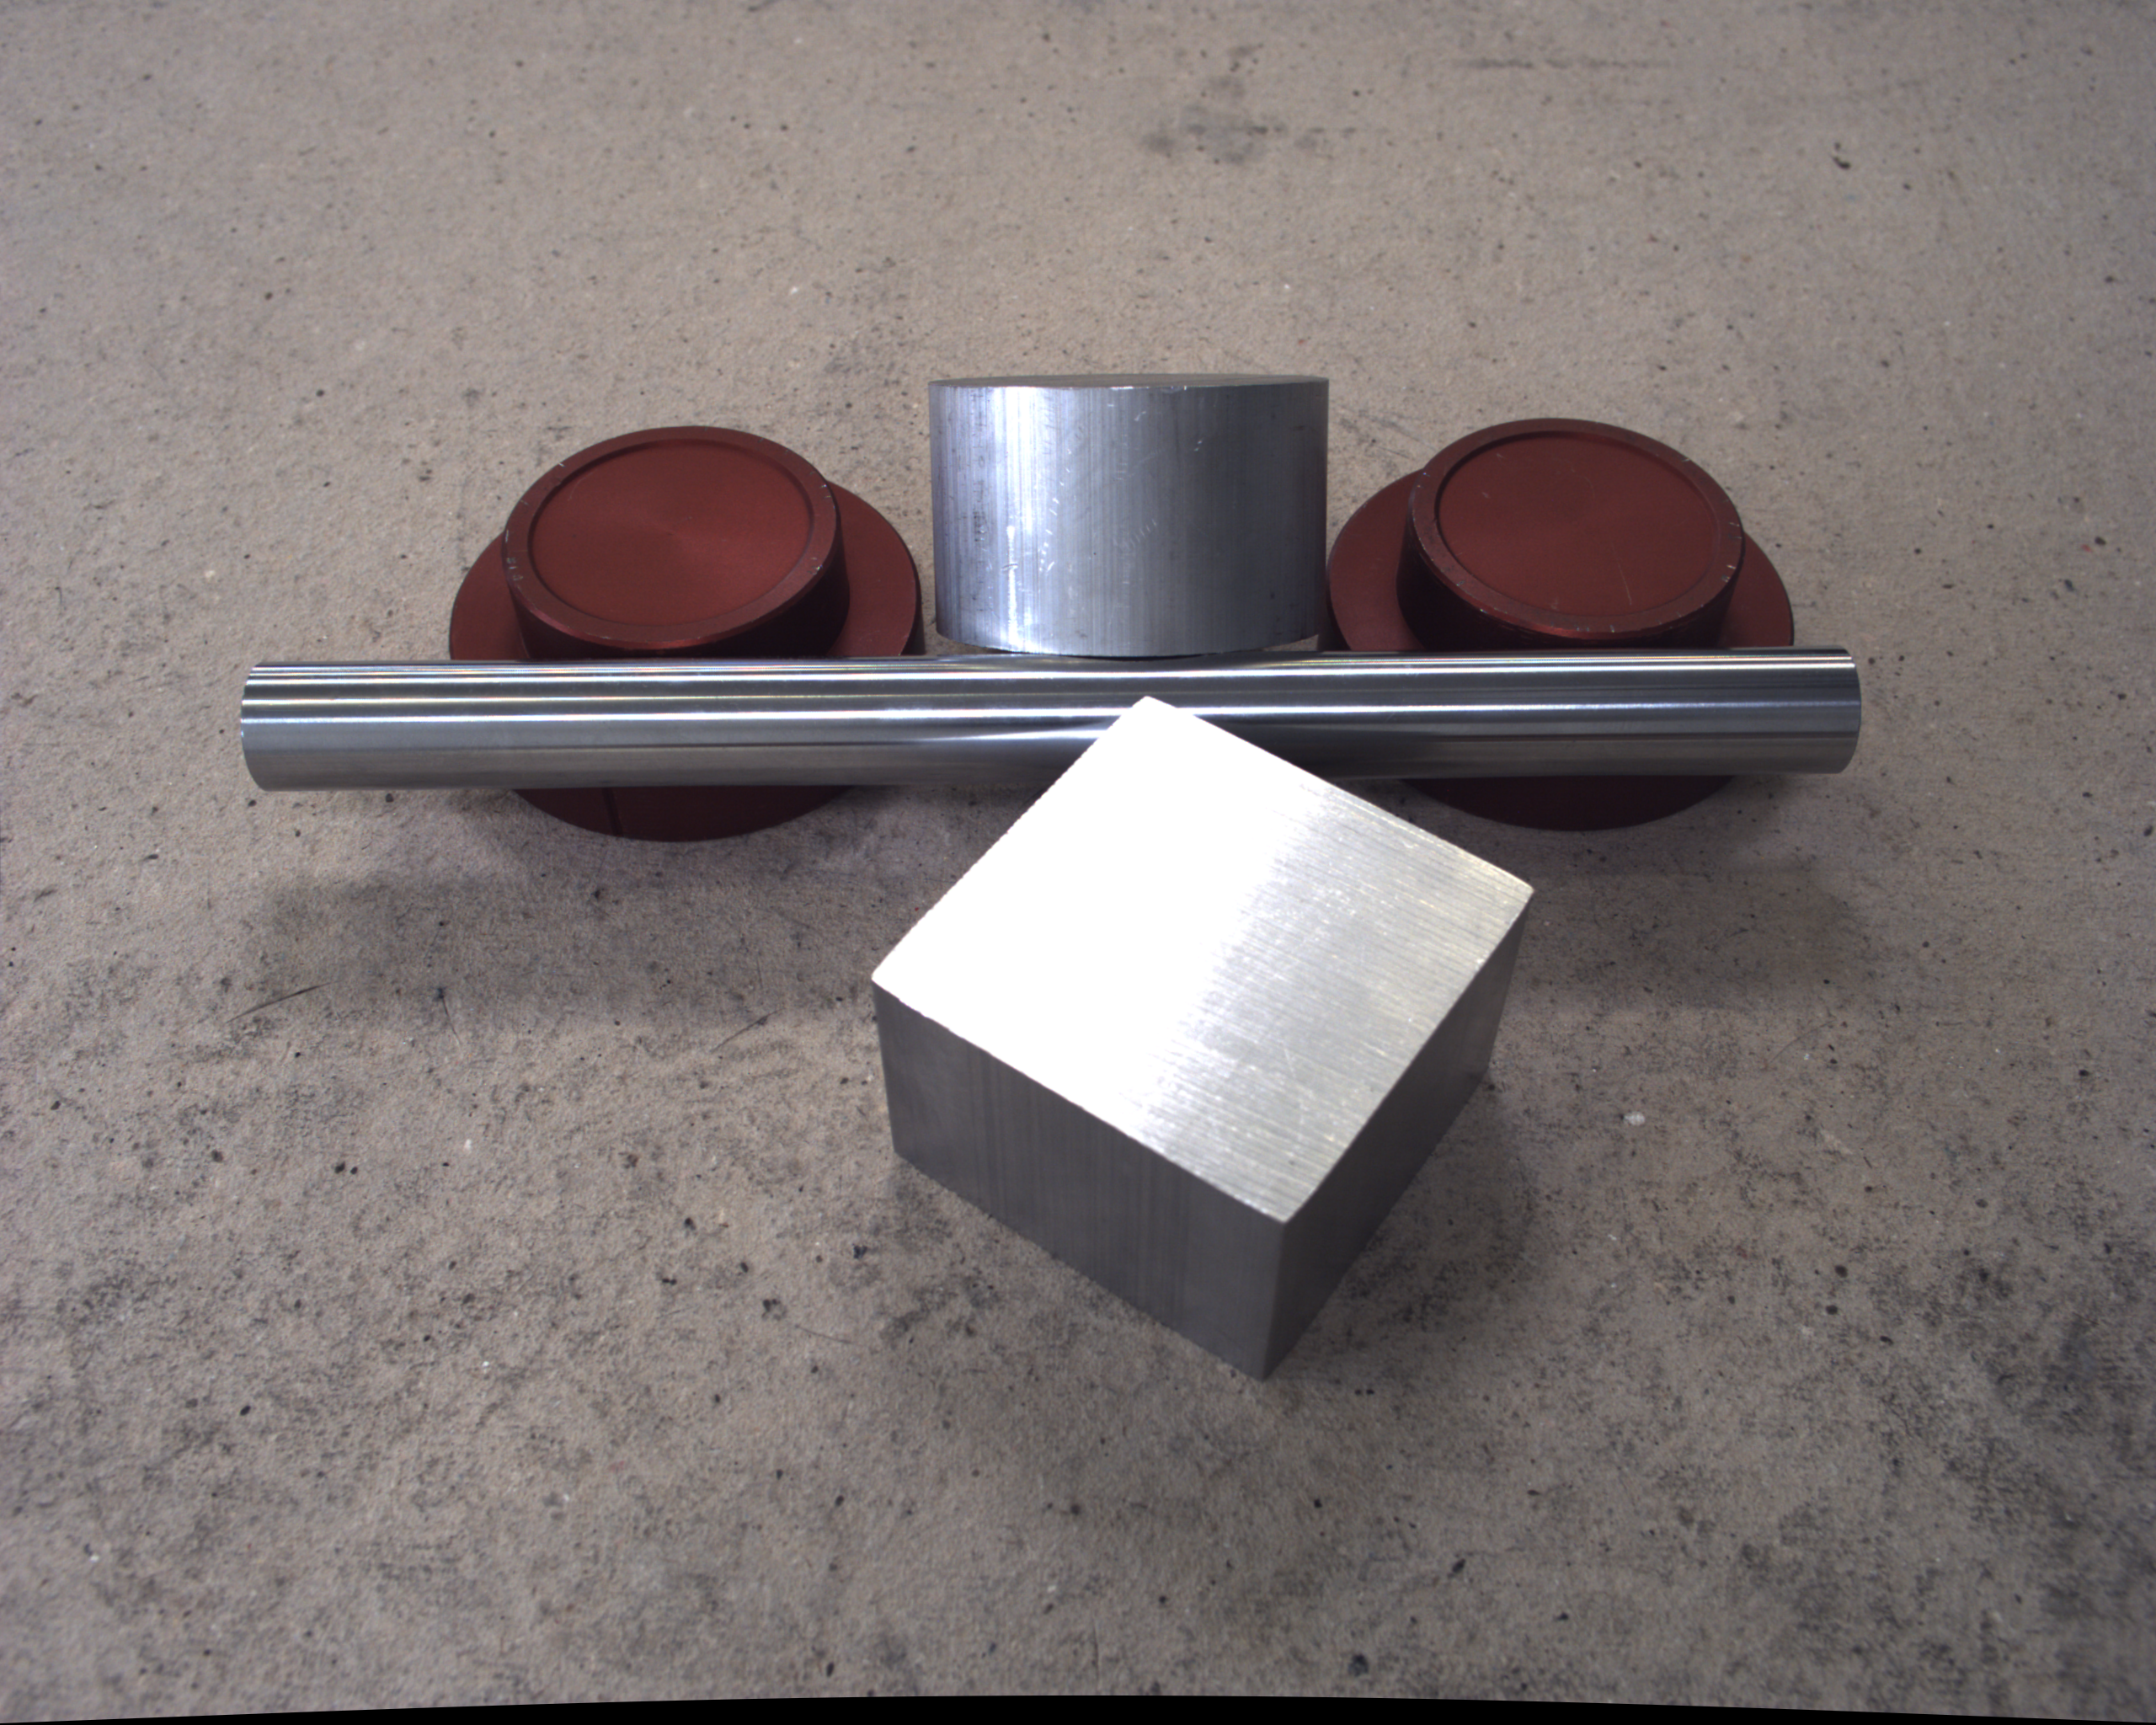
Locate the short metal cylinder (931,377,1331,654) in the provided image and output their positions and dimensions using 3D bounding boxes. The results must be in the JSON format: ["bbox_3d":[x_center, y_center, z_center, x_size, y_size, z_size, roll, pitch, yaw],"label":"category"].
[{"bbox_3d":[0.011,-0.073,0.426,0.080,0.050,0.080,0,15,0],"label":"short metal cylinder"}]

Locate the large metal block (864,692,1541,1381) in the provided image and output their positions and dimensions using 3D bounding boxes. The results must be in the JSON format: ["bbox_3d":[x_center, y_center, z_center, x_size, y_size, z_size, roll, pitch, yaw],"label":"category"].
[{"bbox_3d":[0.022,0.028,0.363,0.080,0.050,0.080,28,56,22],"label":"large metal block"}]

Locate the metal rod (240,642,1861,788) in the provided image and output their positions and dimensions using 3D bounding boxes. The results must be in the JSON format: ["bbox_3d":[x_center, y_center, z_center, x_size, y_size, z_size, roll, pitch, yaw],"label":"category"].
[{"bbox_3d":[-0.004,-0.028,0.401,0.302,0.025,0.025,-1,50,-1],"label":"metal rod"}]

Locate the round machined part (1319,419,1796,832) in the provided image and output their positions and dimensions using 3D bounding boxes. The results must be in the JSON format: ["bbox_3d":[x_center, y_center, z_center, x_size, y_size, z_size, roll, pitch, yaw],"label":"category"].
[{"bbox_3d":[0.102,-0.056,0.442,0.099,0.042,0.098,0,50,0],"label":"round machined part"}]

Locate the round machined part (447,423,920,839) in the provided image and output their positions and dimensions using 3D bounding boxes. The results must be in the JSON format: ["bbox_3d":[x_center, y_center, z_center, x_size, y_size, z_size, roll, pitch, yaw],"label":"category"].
[{"bbox_3d":[-0.083,-0.055,0.438,0.099,0.042,0.098,0,50,0],"label":"round machined part"}]
